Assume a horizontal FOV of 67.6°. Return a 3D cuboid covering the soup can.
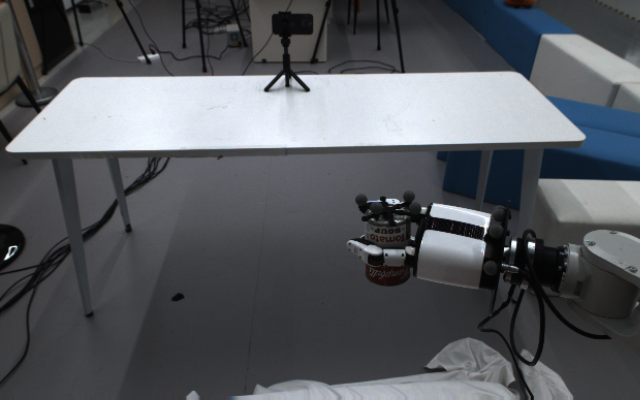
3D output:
[{"bbox_3d":[0.100,0.064,0.705,0.067,0.101,0.067,-4,25,2],"label":"soup can"}]
